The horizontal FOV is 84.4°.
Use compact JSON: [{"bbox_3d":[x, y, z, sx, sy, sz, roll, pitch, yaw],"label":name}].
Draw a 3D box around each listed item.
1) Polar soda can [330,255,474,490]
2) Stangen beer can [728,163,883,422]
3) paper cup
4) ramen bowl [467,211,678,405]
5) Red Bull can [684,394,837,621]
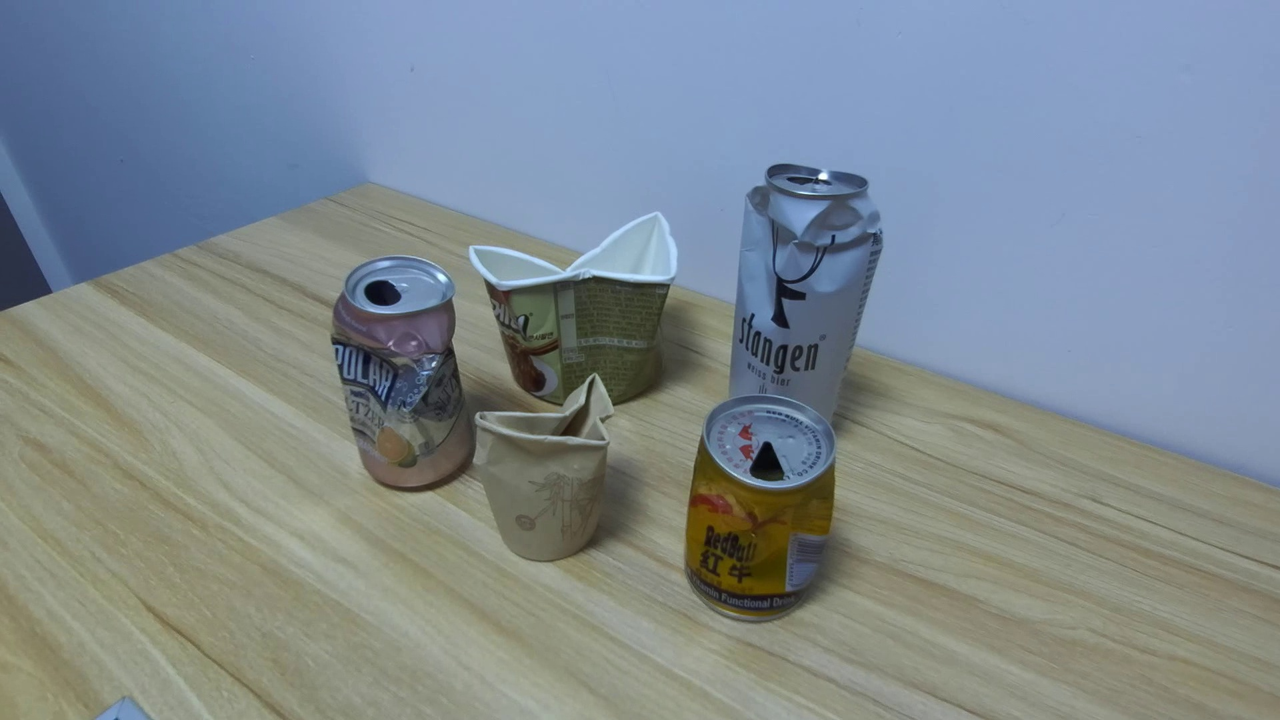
[{"bbox_3d":[-0.126,0.009,0.395,0.067,0.122,0.070,-22,42,-37],"label":"Polar soda can"},{"bbox_3d":[0.090,-0.026,0.407,0.066,0.166,0.065,-9,35,-15],"label":"Stangen beer can"},{"bbox_3d":[-0.046,0.053,0.364,0.066,0.083,0.058,5,34,4],"label":"paper cup"},{"bbox_3d":[-0.043,-0.037,0.481,0.128,0.093,0.111,-3,36,-6],"label":"ramen bowl"},{"bbox_3d":[0.055,0.069,0.334,0.072,0.092,0.072,1,35,-1],"label":"Red Bull can"}]
